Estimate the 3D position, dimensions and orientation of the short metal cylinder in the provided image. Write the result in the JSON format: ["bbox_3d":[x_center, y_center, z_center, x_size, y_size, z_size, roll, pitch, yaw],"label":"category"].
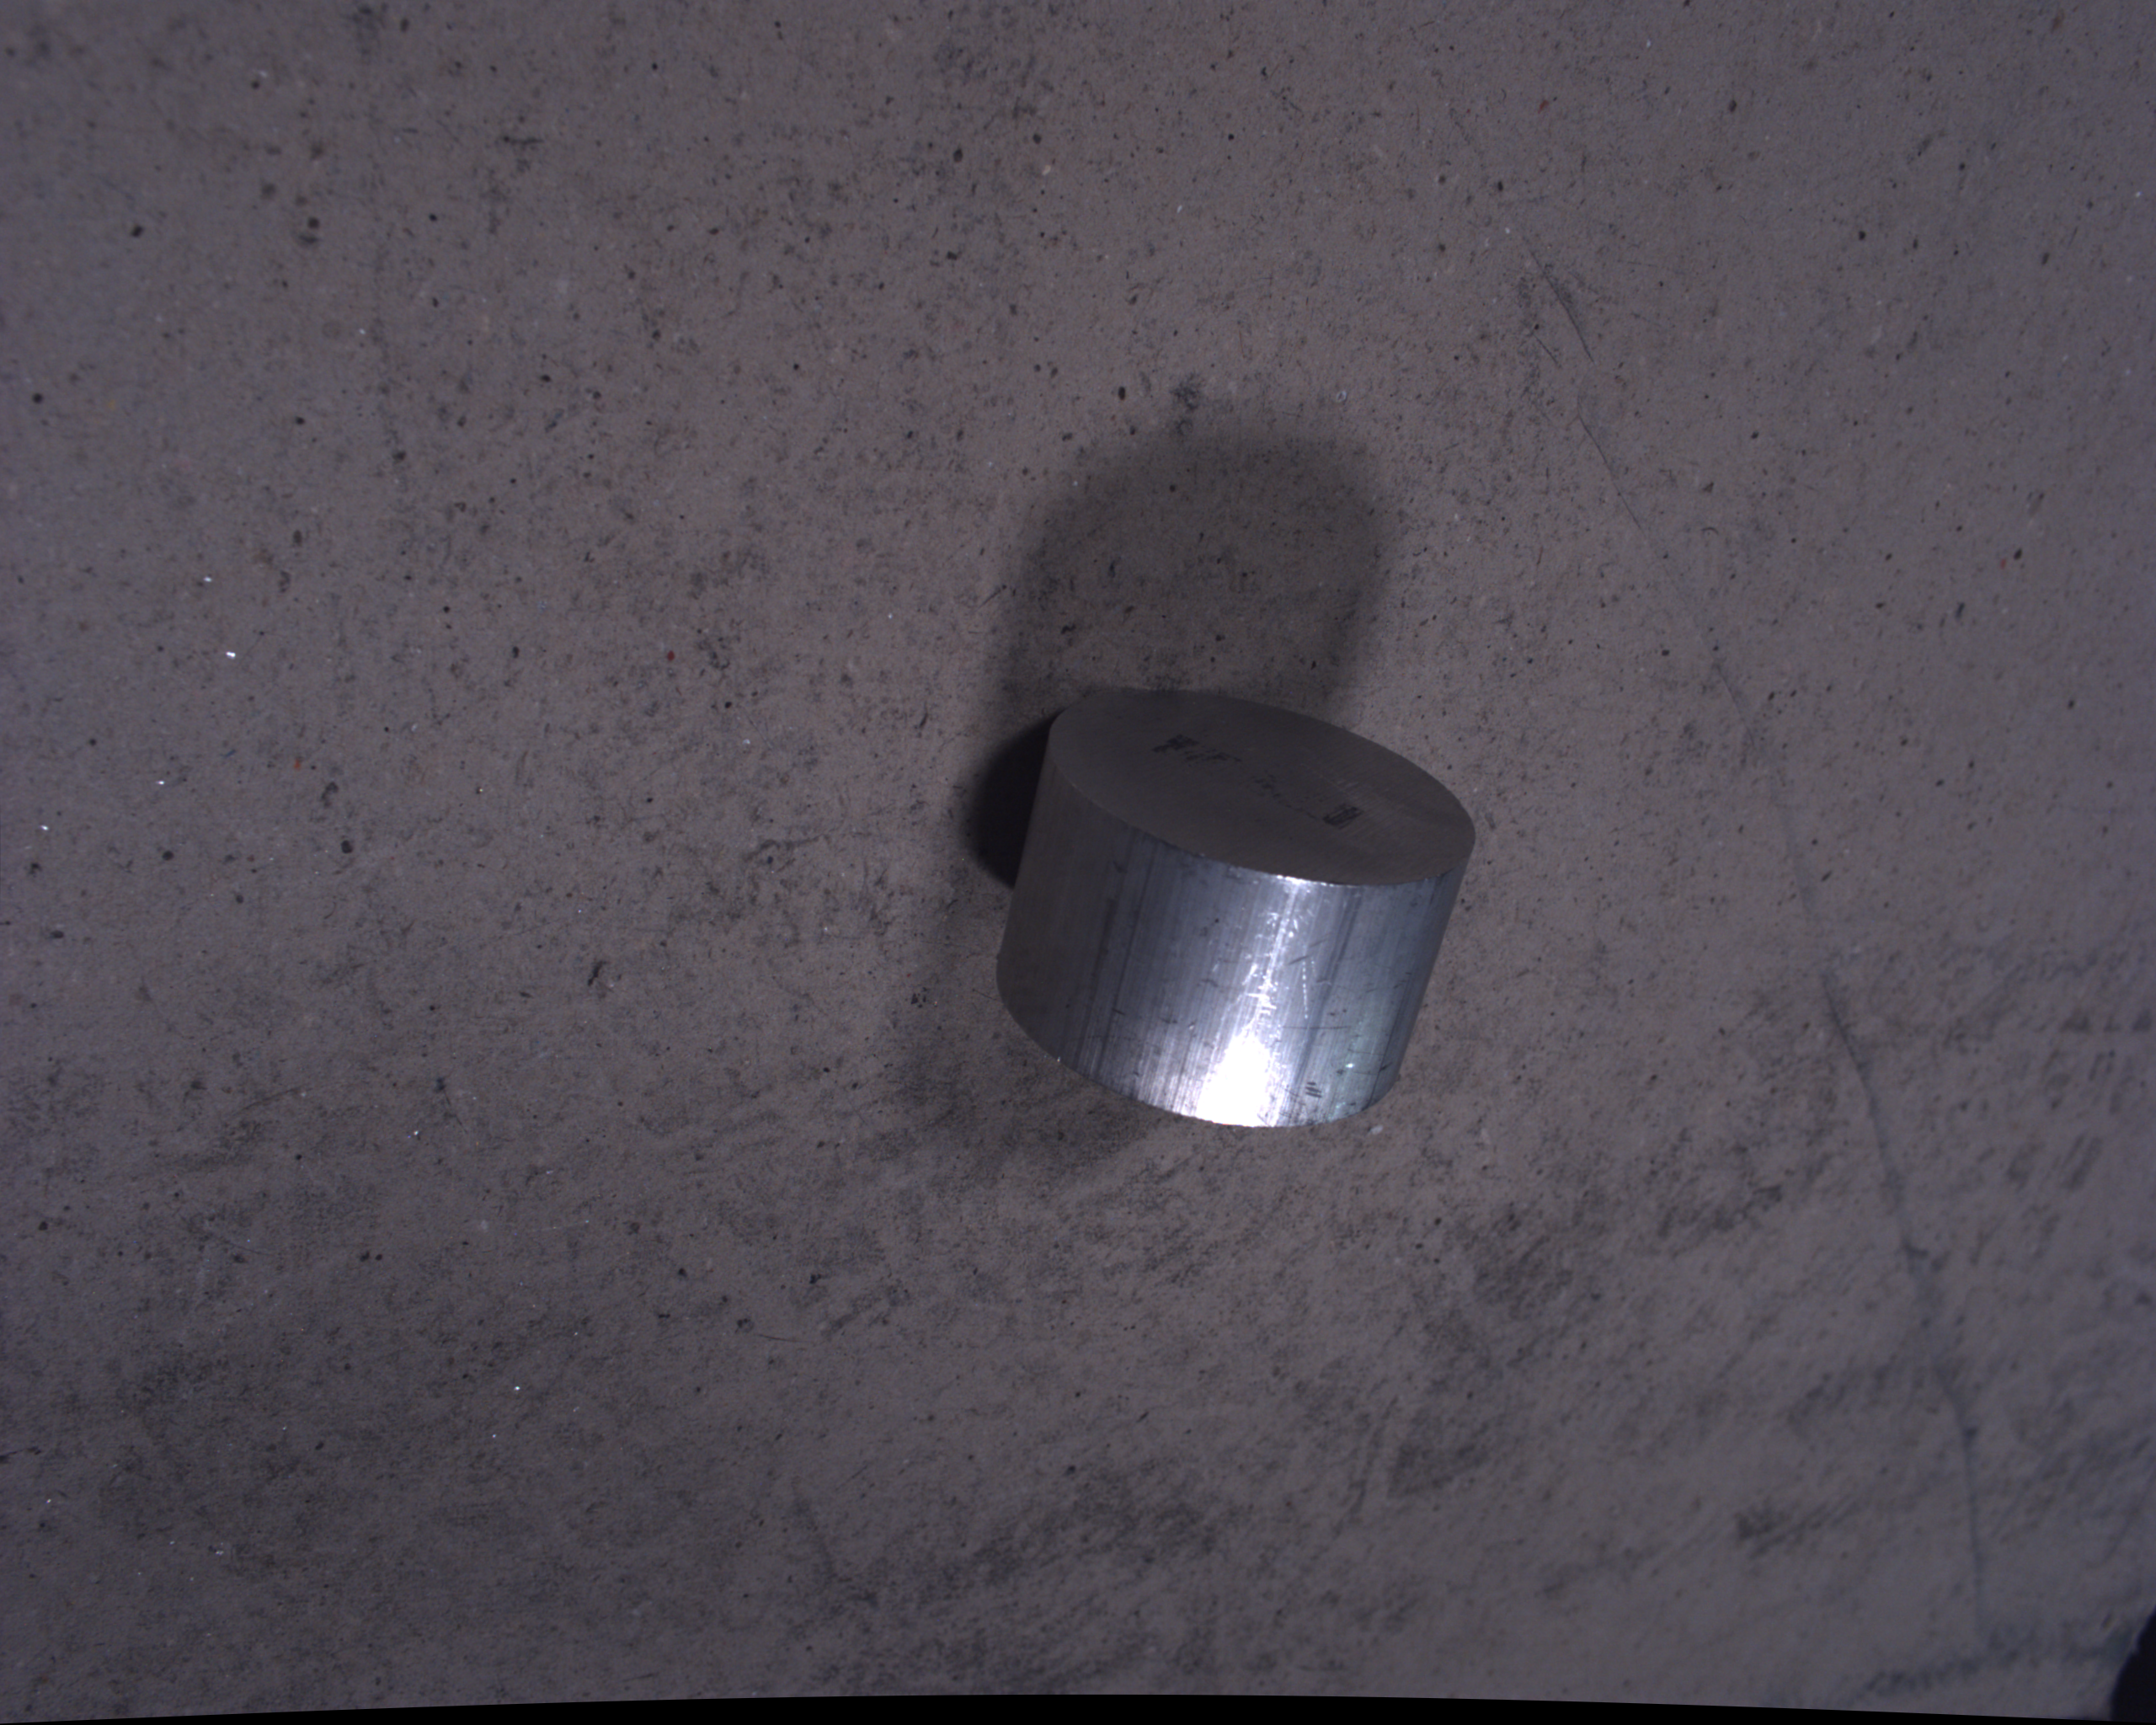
[{"bbox_3d":[0.029,0.006,0.394,0.081,0.080,0.050,-1,119,-28],"label":"short metal cylinder"}]
